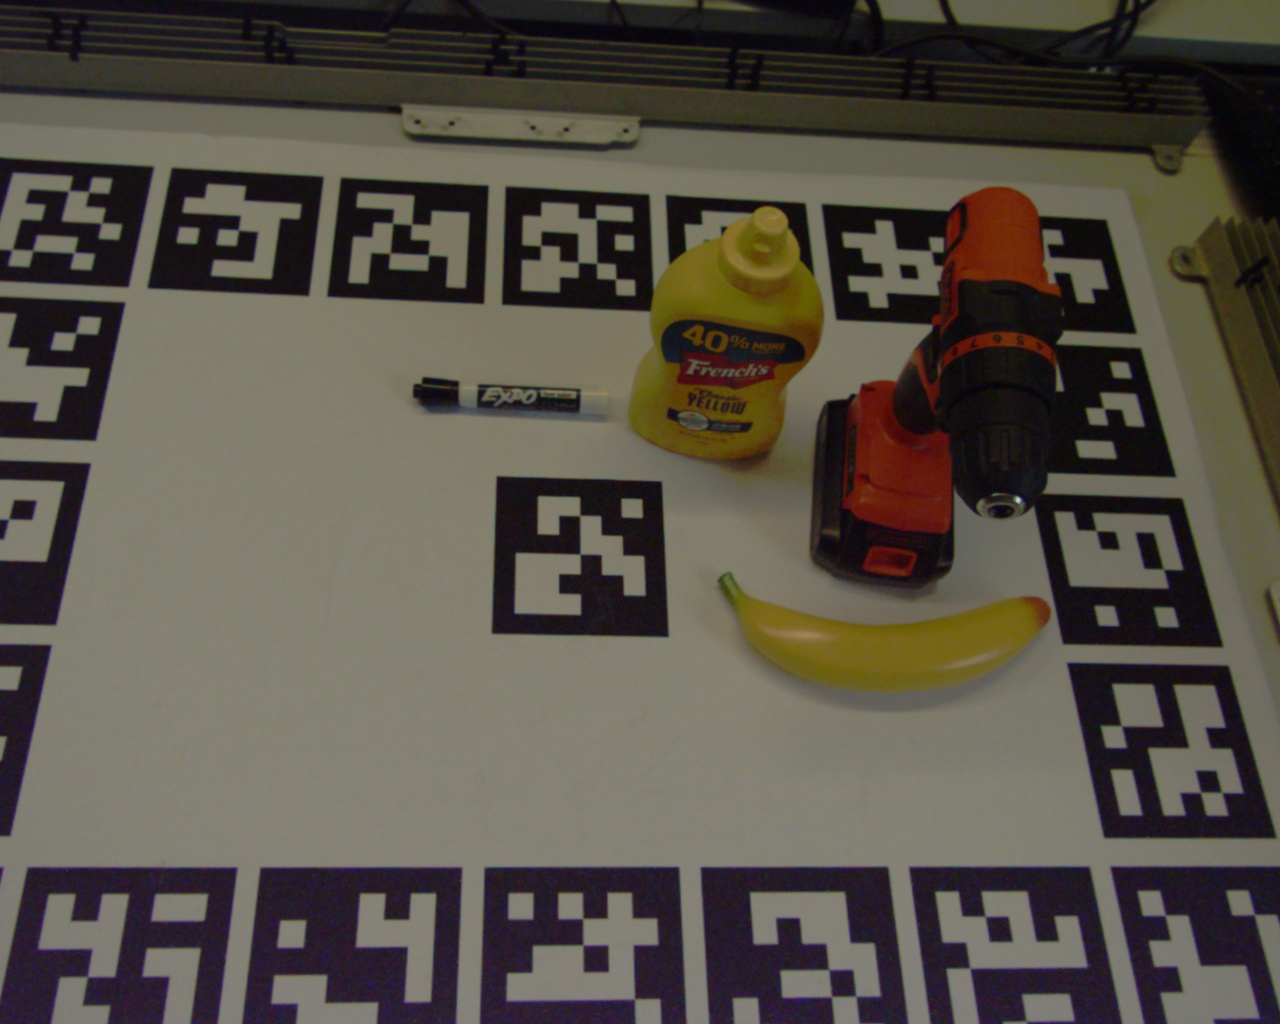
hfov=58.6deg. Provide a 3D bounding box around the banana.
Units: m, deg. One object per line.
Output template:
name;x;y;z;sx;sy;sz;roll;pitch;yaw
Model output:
banana;0.127;0.087;0.704;0.197;0.039;0.074;8;67;-2

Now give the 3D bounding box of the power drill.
power drill;0.148;-0.031;0.654;0.057;0.187;0.184;15;63;-4

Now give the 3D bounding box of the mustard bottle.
mustard bottle;0.039;-0.087;0.683;0.096;0.192;0.058;12;65;-4

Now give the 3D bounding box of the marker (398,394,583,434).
marker;-0.098;-0.065;0.750;0.121;0.019;0.020;3;67;-6
